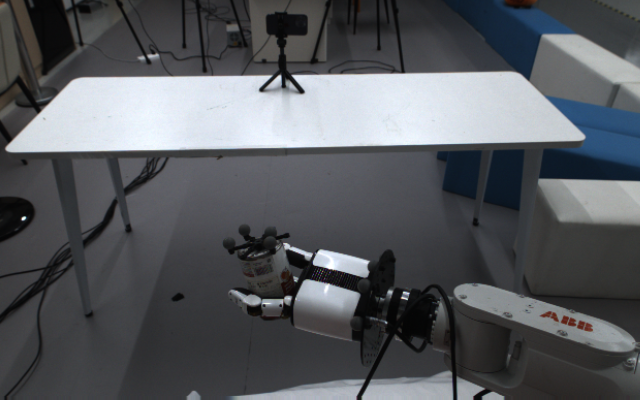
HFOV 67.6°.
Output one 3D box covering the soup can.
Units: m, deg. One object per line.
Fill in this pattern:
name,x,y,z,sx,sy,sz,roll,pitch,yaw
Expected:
soup can,-0.072,0.111,0.689,0.067,0.101,0.067,-13,19,4
